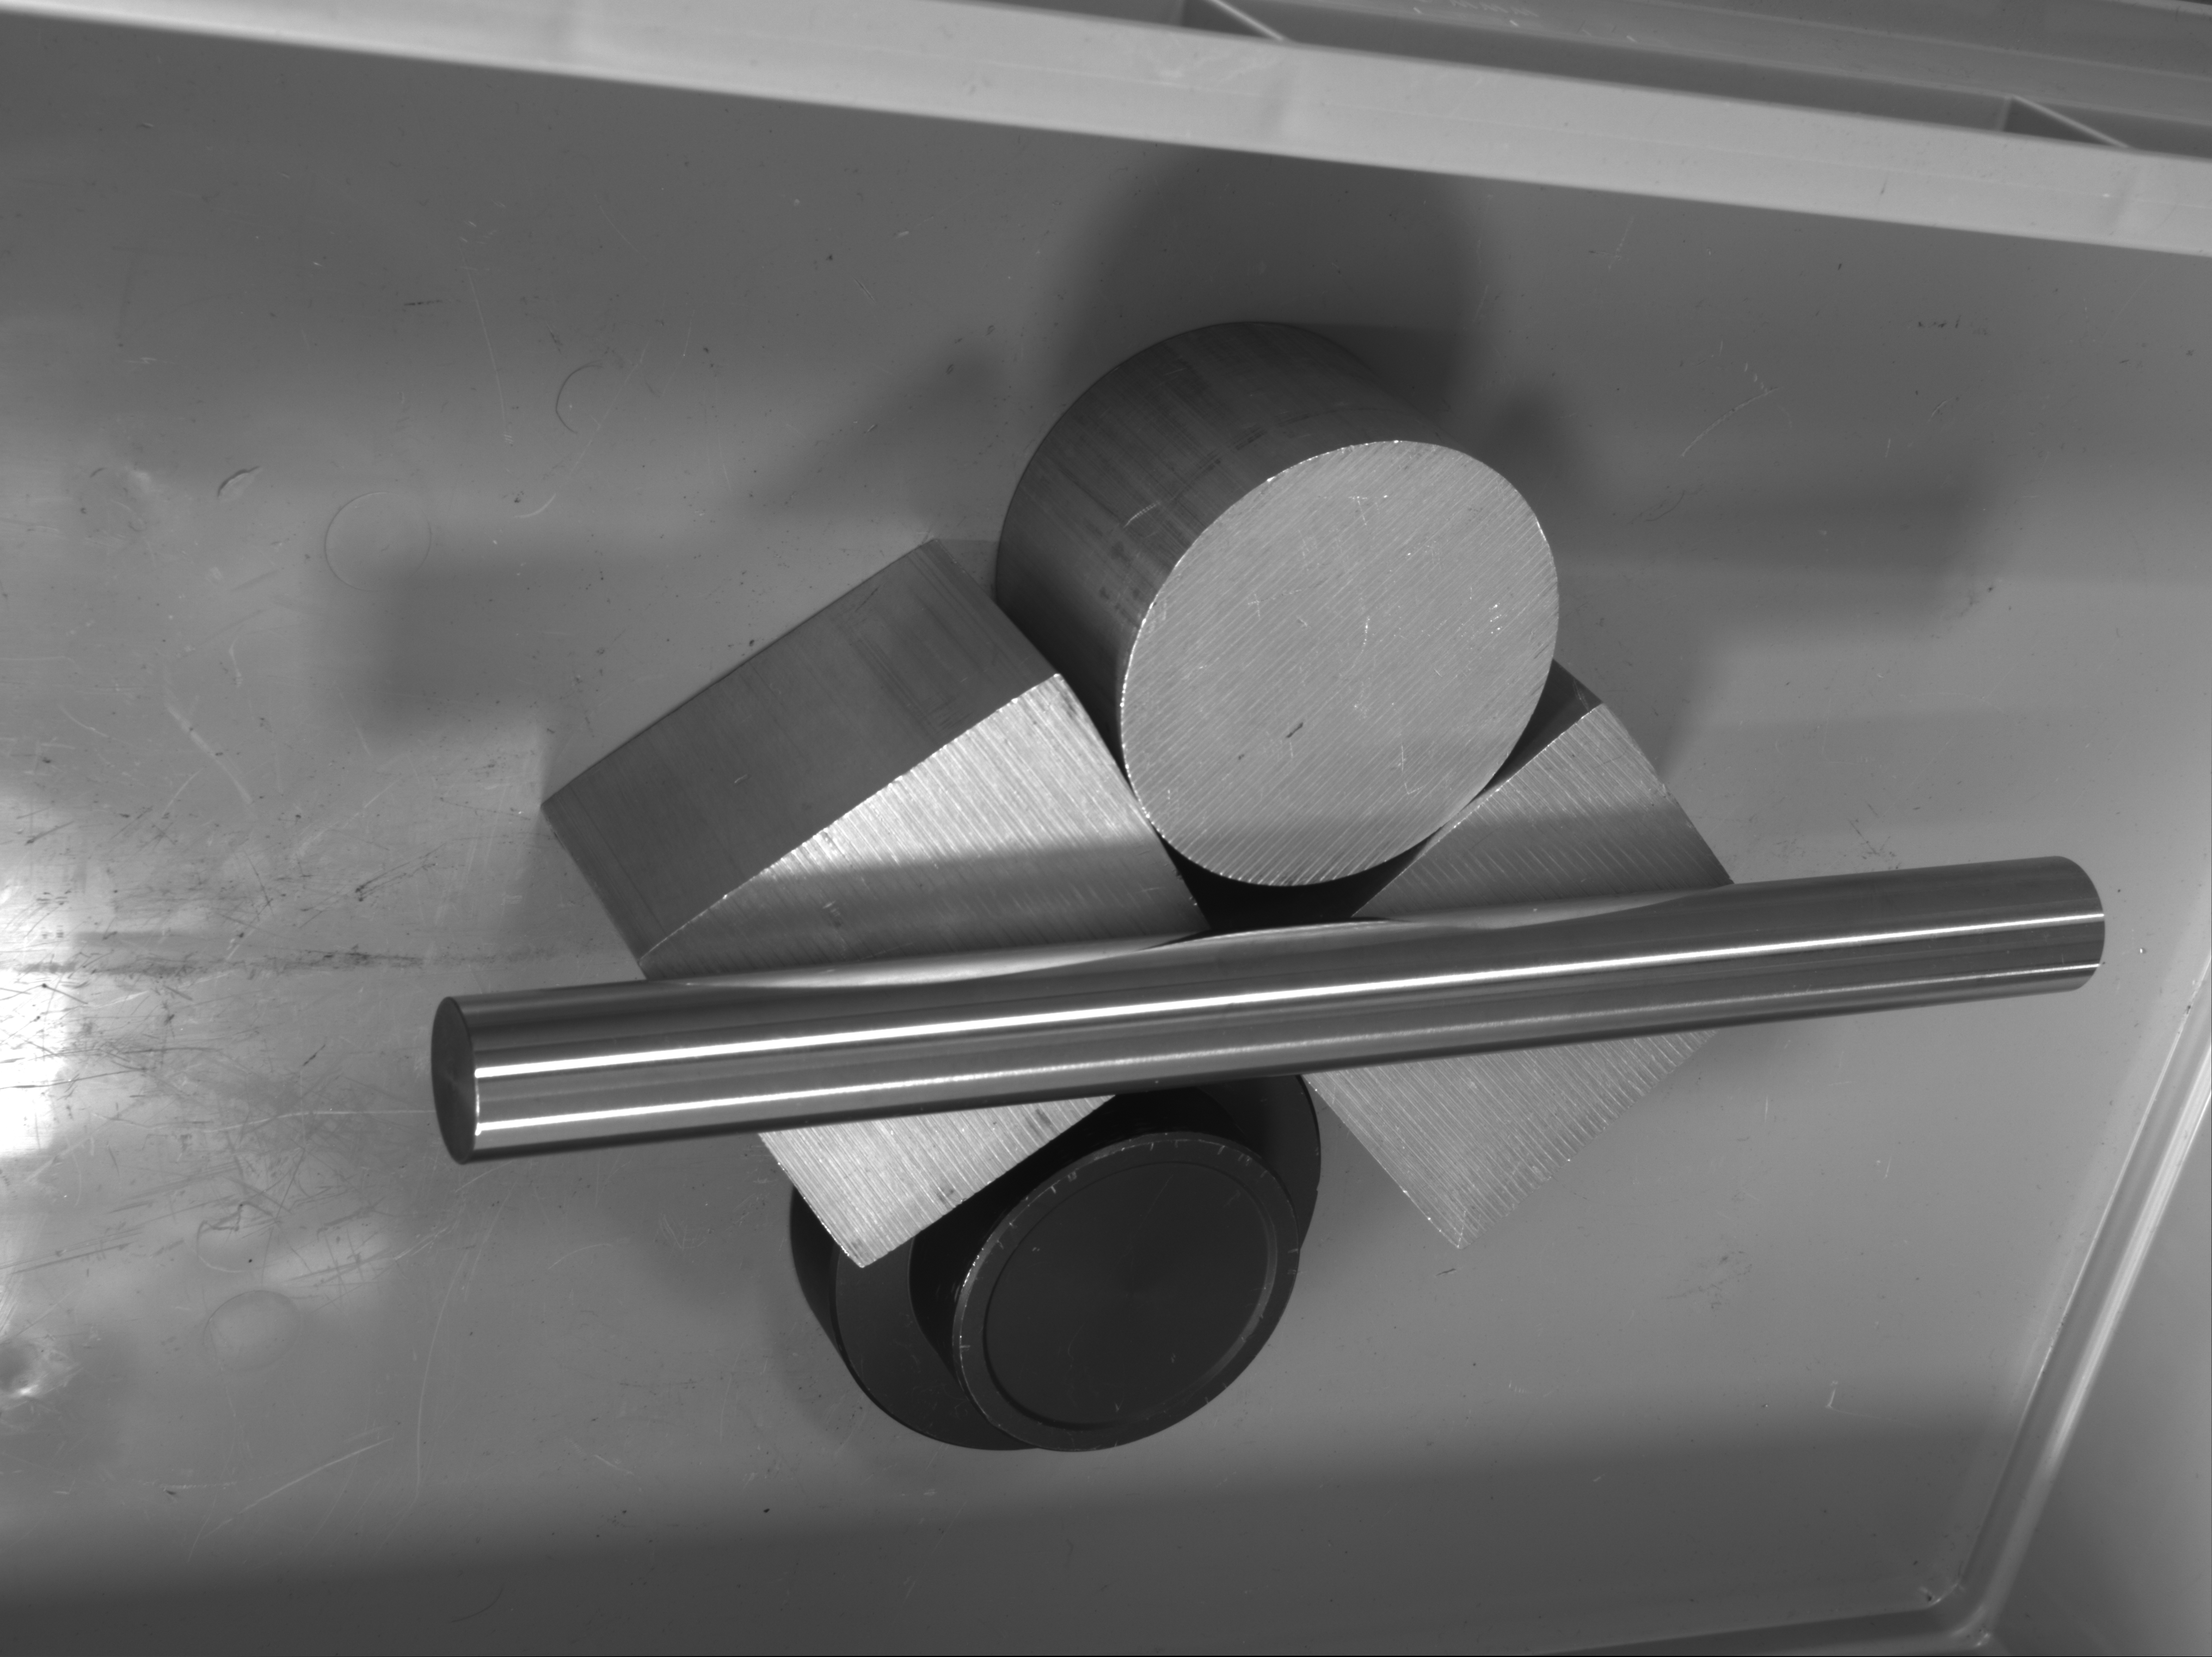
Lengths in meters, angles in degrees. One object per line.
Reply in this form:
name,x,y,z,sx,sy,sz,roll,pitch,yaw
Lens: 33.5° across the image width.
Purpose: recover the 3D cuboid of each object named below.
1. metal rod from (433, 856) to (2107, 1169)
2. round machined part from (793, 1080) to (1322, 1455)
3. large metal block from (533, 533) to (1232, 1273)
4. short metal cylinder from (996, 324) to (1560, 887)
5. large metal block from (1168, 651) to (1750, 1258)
metal rod,0.039,0.028,0.607,0.301,0.025,0.025,-4,120,-25
round machined part,-0.004,0.074,0.667,0.098,0.042,0.098,-13,124,-21
large metal block,-0.035,0.013,0.609,0.080,0.050,0.080,-35,130,-6
short metal cylinder,0.028,-0.037,0.612,0.080,0.050,0.080,-13,124,-21
large metal block,0.065,0.016,0.661,0.080,0.050,0.080,-40,129,0
